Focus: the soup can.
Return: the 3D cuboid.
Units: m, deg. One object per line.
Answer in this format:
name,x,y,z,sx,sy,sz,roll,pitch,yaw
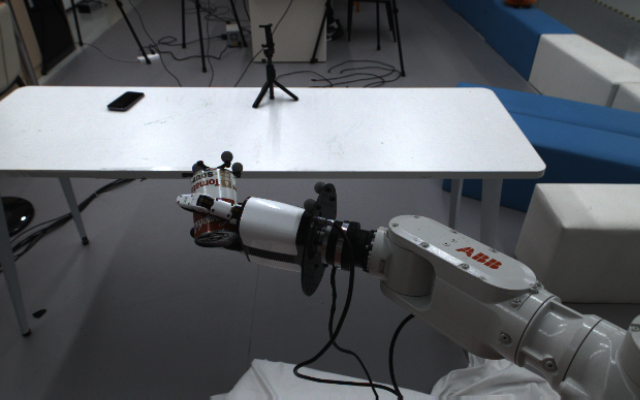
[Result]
soup can,-0.153,0.013,0.714,0.067,0.067,0.101,-6,67,-12
